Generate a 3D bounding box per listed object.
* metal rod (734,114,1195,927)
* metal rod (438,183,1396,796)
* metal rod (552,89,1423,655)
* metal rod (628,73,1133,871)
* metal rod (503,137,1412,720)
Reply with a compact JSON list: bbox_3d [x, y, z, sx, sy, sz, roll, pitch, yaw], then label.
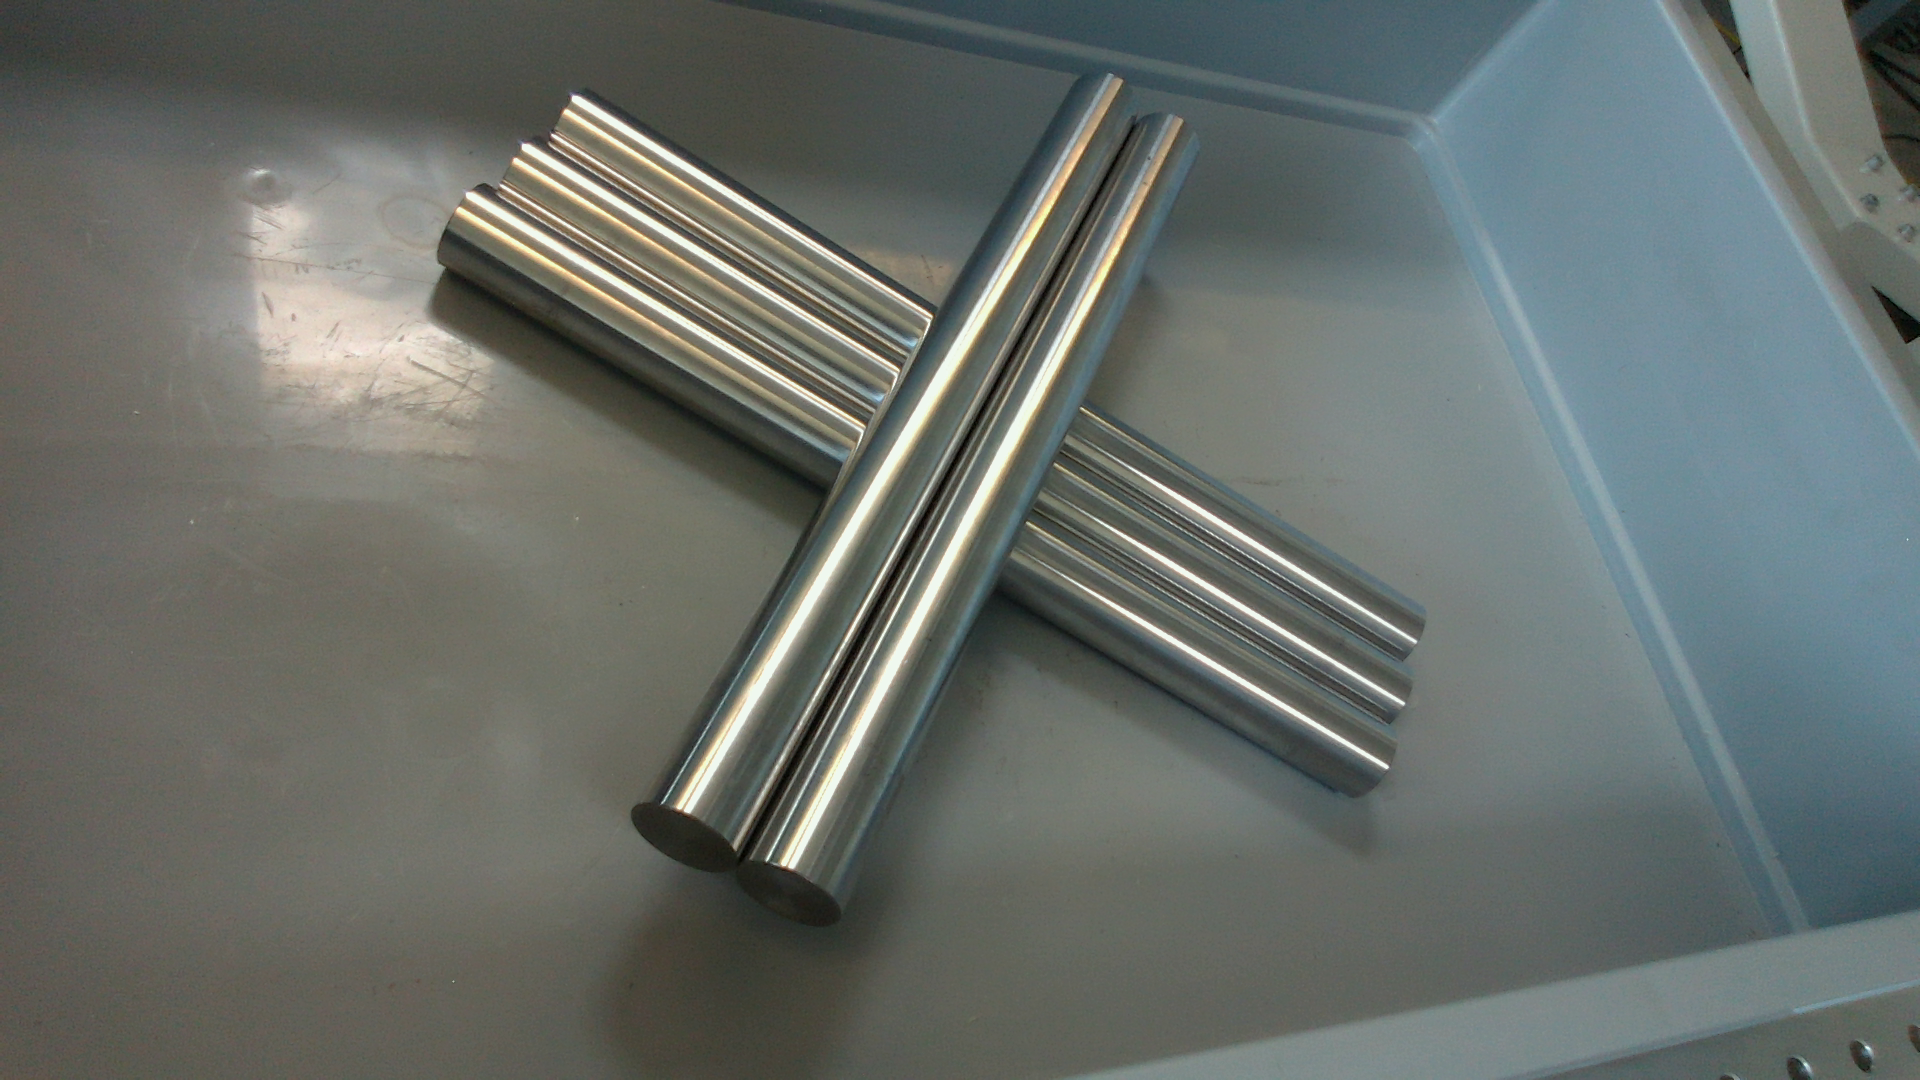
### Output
[{"bbox_3d":[0.016,-0.031,0.384,0.025,0.025,0.301,32,51,-7],"label":"metal rod"},{"bbox_3d":[-0.005,-0.009,0.391,0.300,0.025,0.025,31,52,-9],"label":"metal rod"},{"bbox_3d":[0.014,-0.044,0.423,0.300,0.025,0.025,31,52,-9],"label":"metal rod"},{"bbox_3d":[-0.005,-0.044,0.380,0.025,0.025,0.301,32,51,-7],"label":"metal rod"},{"bbox_3d":[0.005,-0.026,0.407,0.300,0.025,0.025,31,52,-9],"label":"metal rod"}]
